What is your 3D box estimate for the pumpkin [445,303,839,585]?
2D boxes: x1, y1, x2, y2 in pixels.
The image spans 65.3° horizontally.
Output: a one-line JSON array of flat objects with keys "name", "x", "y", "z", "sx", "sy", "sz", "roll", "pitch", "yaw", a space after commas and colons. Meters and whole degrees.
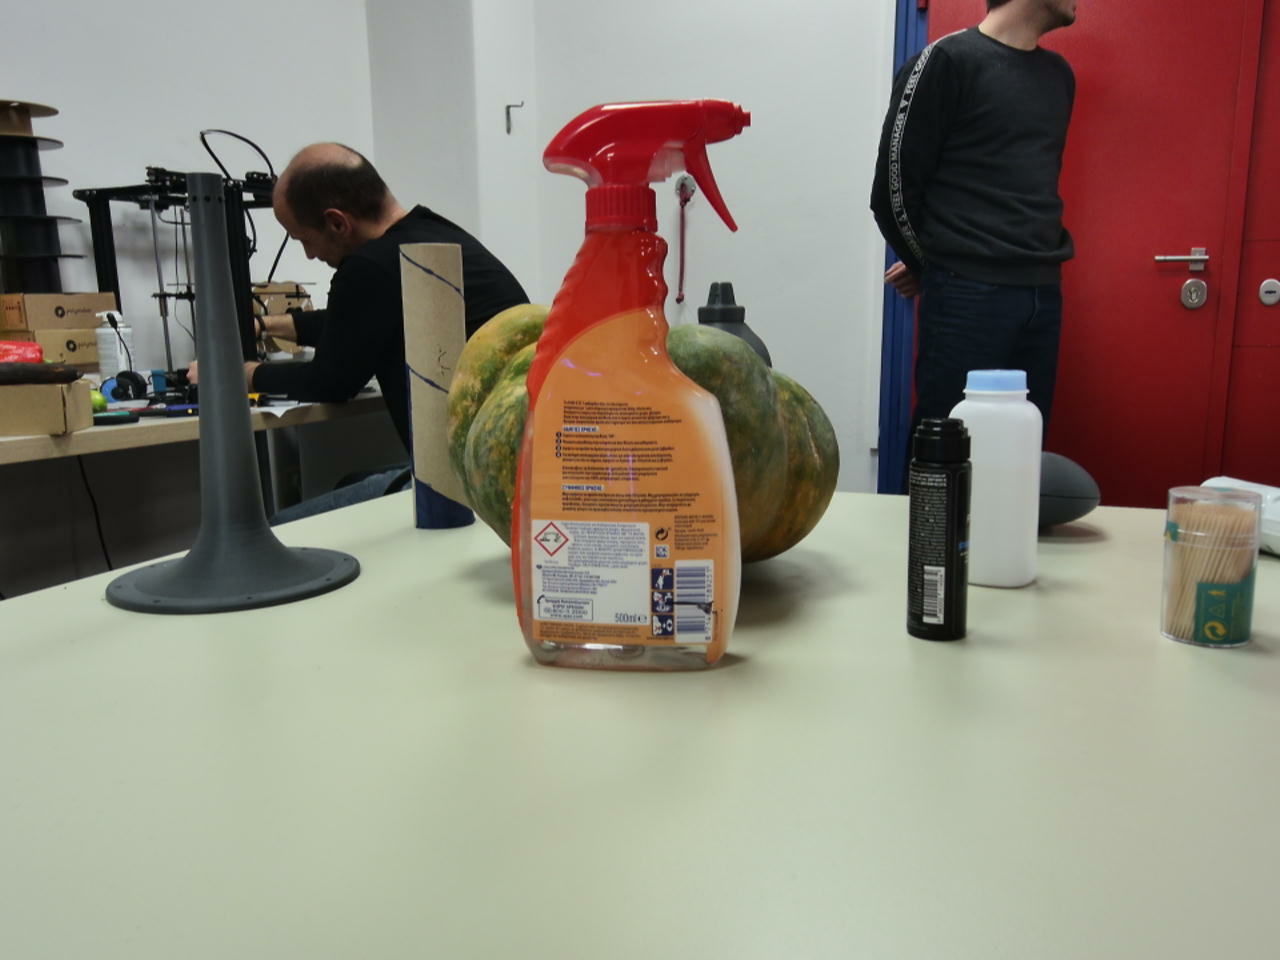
[{"name": "pumpkin", "x": 0.000, "y": -0.026, "z": 0.652, "sx": 0.237, "sy": 0.173, "sz": 0.270, "roll": -4, "pitch": 8, "yaw": -29}]
